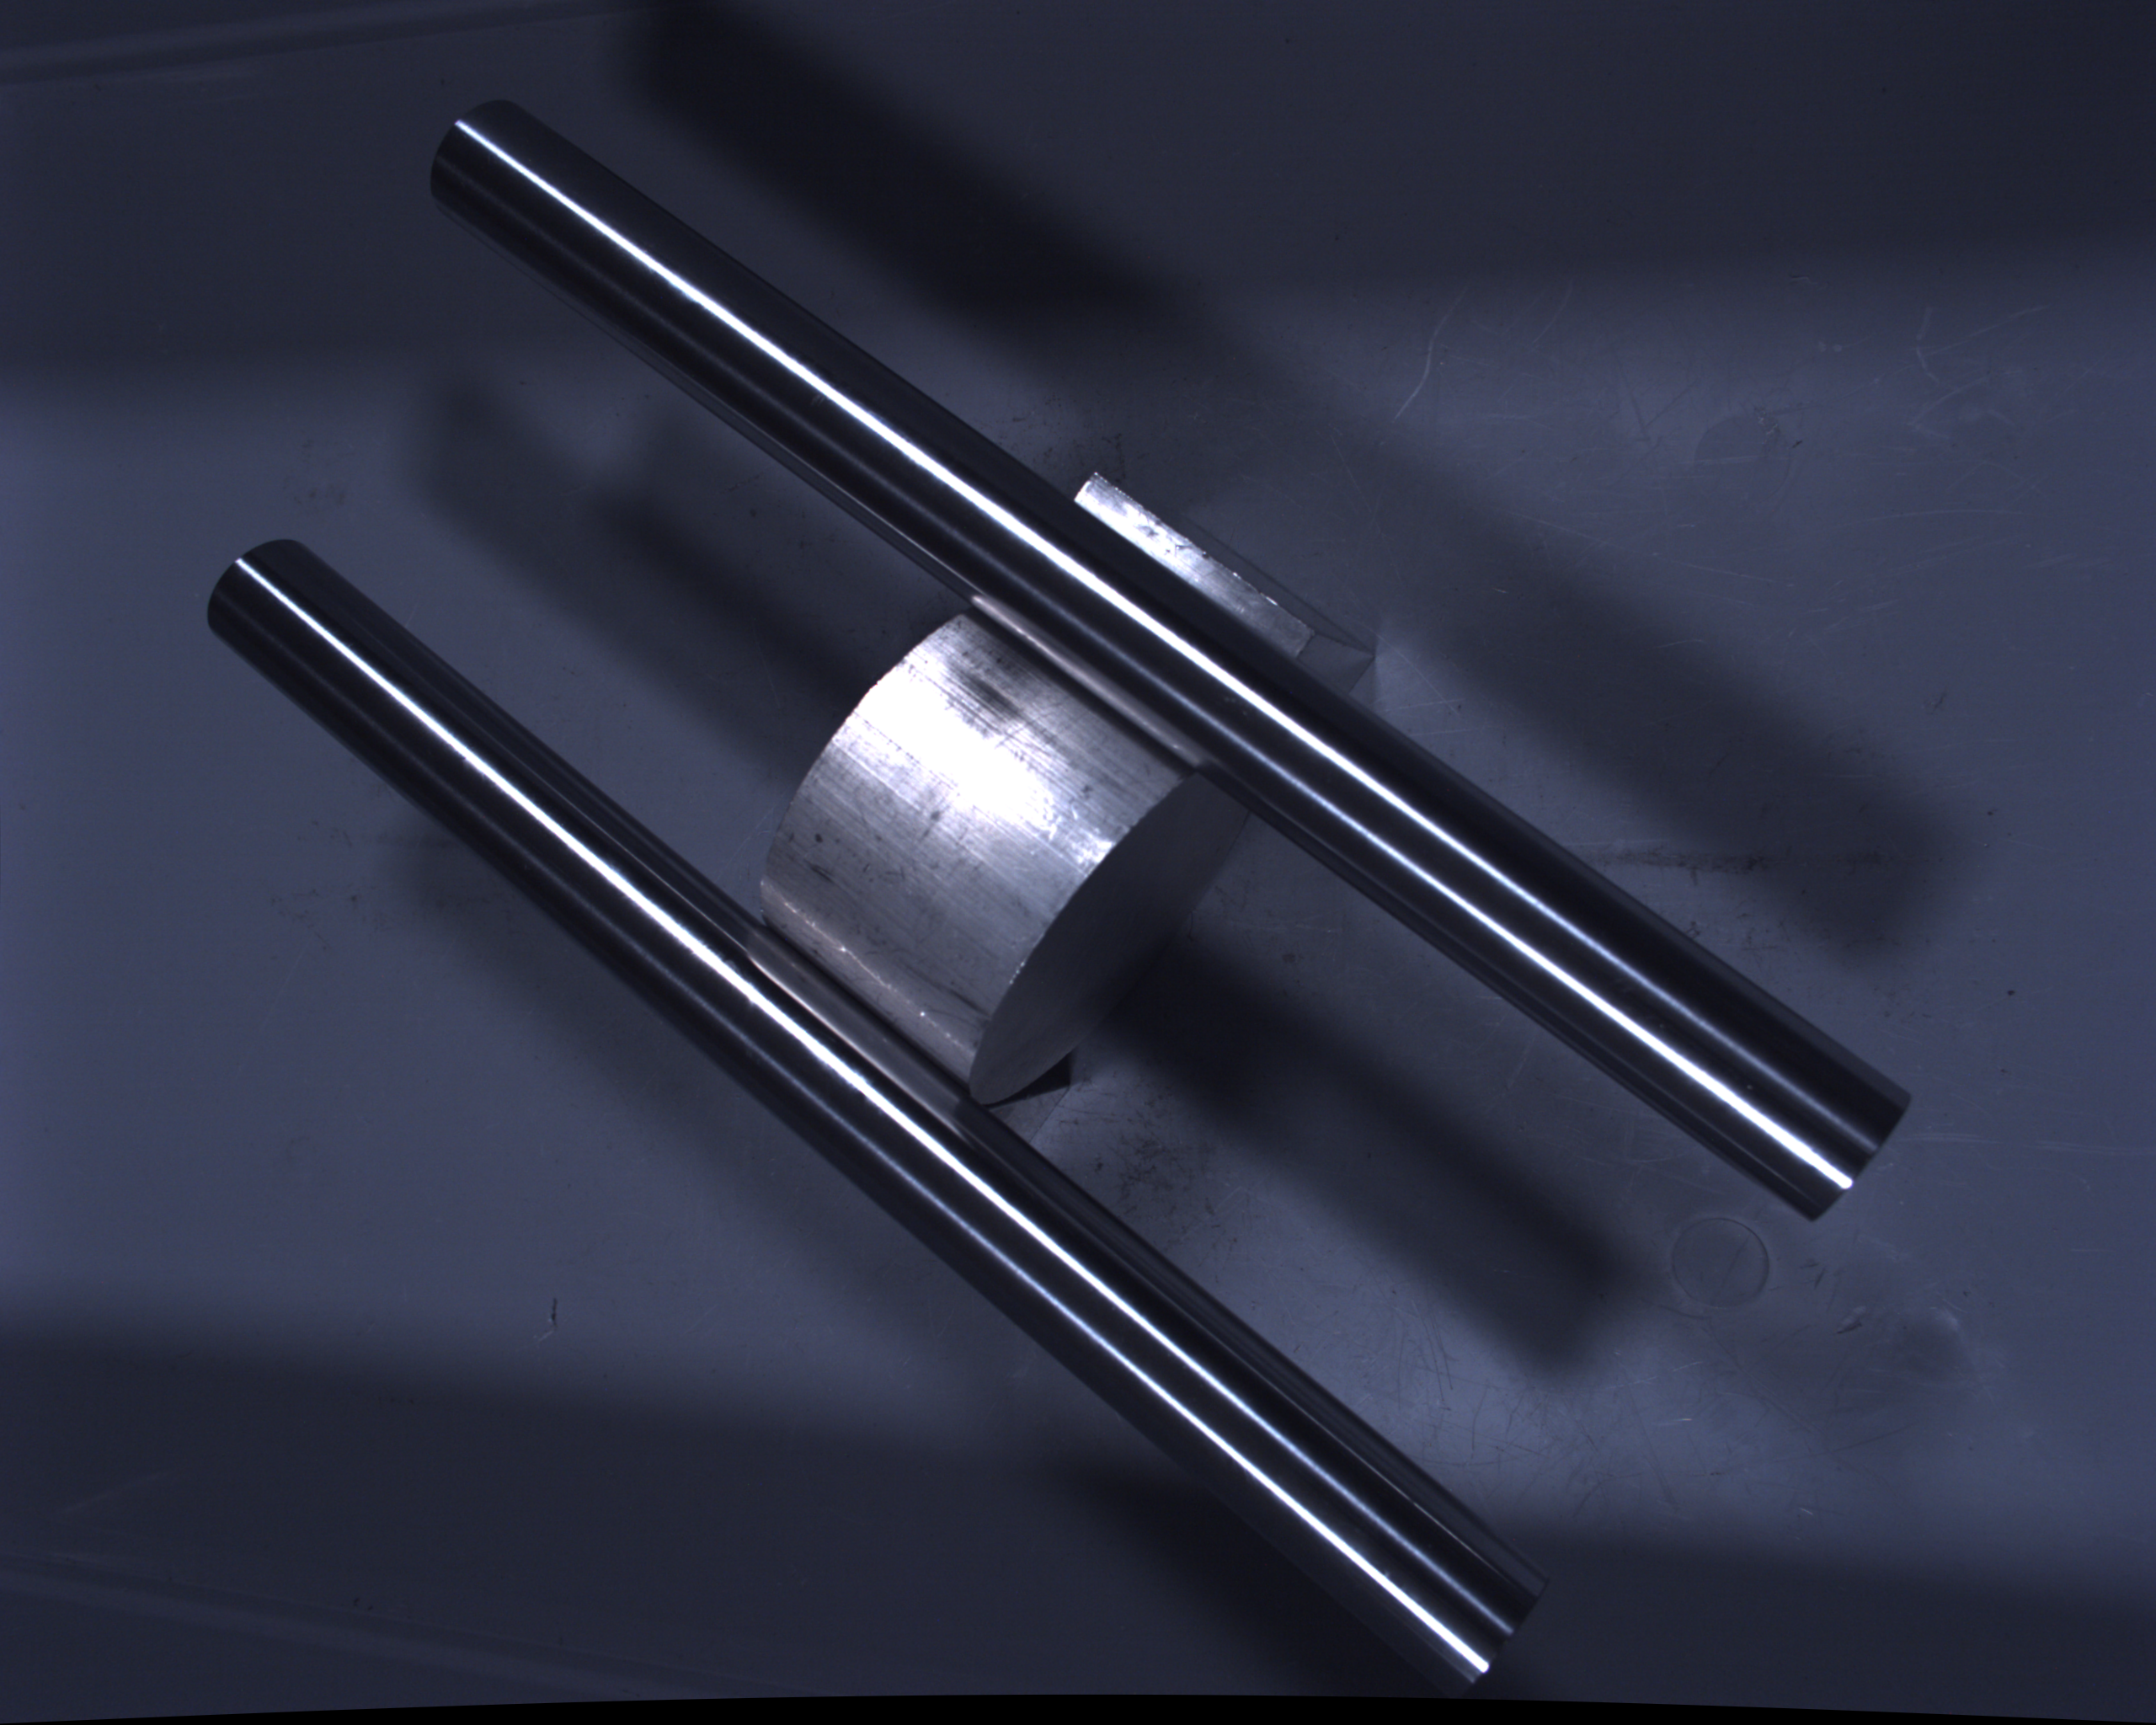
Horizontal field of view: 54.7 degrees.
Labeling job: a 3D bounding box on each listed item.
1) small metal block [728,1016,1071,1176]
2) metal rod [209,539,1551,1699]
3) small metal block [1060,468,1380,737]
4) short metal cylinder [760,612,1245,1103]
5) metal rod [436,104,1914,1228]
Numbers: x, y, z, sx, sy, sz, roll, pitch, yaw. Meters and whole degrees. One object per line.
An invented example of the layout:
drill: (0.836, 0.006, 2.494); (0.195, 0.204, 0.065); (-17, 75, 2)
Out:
small metal block: (-0.036, 0.040, 0.407); (0.050, 0.050, 0.025); (38, 102, 15)
metal rod: (-0.047, 0.035, 0.373); (0.300, 0.025, 0.025); (38, 102, 16)
small metal block: (0.023, -0.045, 0.386); (0.050, 0.050, 0.025); (38, 102, 15)
short metal cylinder: (-0.012, -0.003, 0.383); (0.050, 0.080, 0.080); (38, 102, 15)
metal rod: (0.003, -0.043, 0.354); (0.300, 0.025, 0.025); (38, 102, 15)
